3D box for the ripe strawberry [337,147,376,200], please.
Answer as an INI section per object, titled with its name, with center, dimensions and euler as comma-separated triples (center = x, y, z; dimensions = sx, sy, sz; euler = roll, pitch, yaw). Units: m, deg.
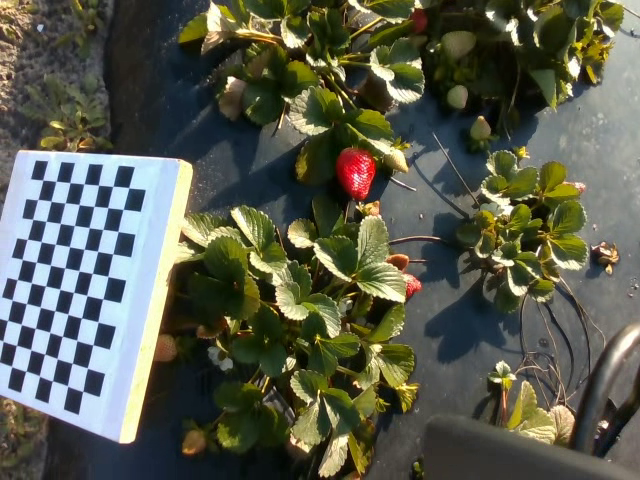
[ripe strawberry]
center = 0.042, -0.073, 0.673
dimensions = 0.056, 0.072, 0.055
euler = -20, -29, 25
